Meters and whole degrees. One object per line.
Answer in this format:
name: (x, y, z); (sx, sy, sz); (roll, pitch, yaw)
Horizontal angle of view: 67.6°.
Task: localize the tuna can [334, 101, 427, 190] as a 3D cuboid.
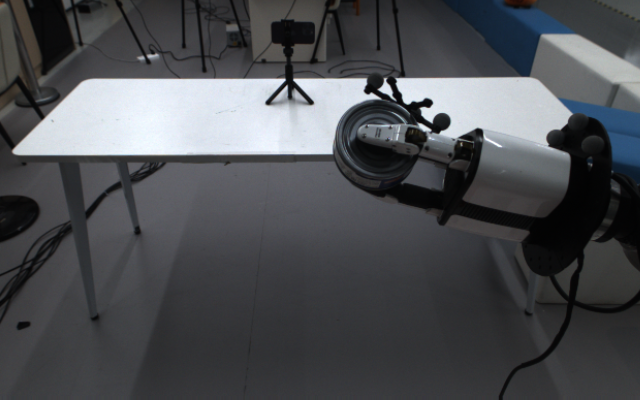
tuna can: (0.061, -0.050, 0.477); (0.085, 0.034, 0.085); (0, 74, -1)
